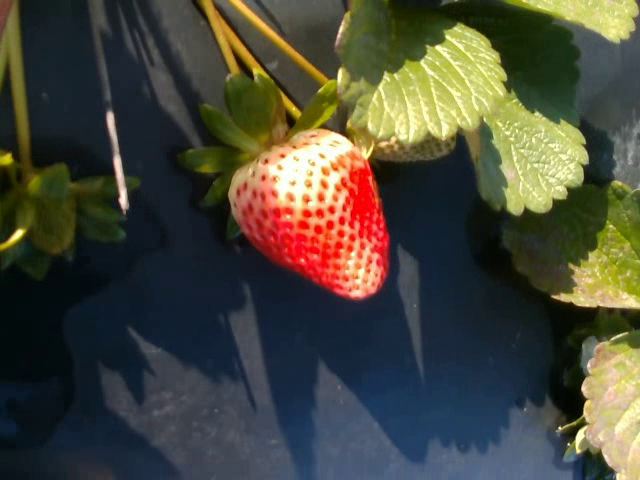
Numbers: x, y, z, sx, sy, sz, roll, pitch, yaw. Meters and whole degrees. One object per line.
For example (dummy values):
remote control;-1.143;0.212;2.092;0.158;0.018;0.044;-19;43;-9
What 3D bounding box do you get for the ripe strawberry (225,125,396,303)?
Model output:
ripe strawberry;0.001;-0.005;0.127;0.042;0.045;0.037;-10;-38;-39
